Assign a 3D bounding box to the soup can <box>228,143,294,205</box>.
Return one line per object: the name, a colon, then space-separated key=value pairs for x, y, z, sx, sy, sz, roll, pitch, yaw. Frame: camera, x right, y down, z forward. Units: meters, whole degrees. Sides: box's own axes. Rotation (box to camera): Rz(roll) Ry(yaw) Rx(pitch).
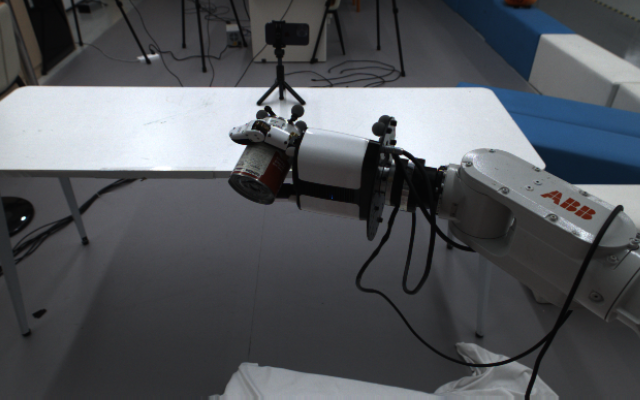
soup can: x=-0.071 y=-0.054 z=0.651 sx=0.067 sy=0.067 sz=0.101 roll=15 pitch=63 yaw=18
